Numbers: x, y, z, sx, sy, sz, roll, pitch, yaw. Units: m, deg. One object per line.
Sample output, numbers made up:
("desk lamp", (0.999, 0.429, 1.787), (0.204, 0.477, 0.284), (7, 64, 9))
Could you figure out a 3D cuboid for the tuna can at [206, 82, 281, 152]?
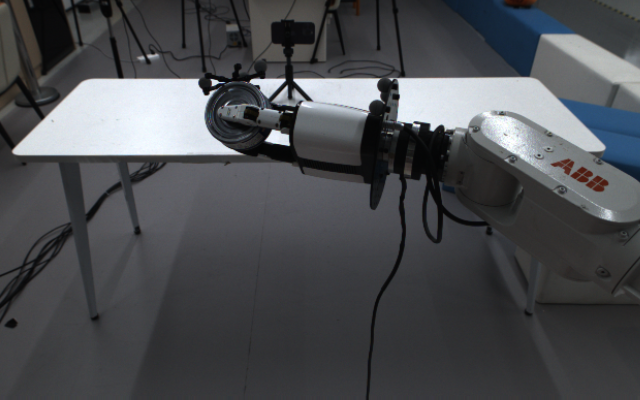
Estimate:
("tuna can", (-0.101, -0.104, 0.627), (0.085, 0.085, 0.034), (13, -6, 15))
